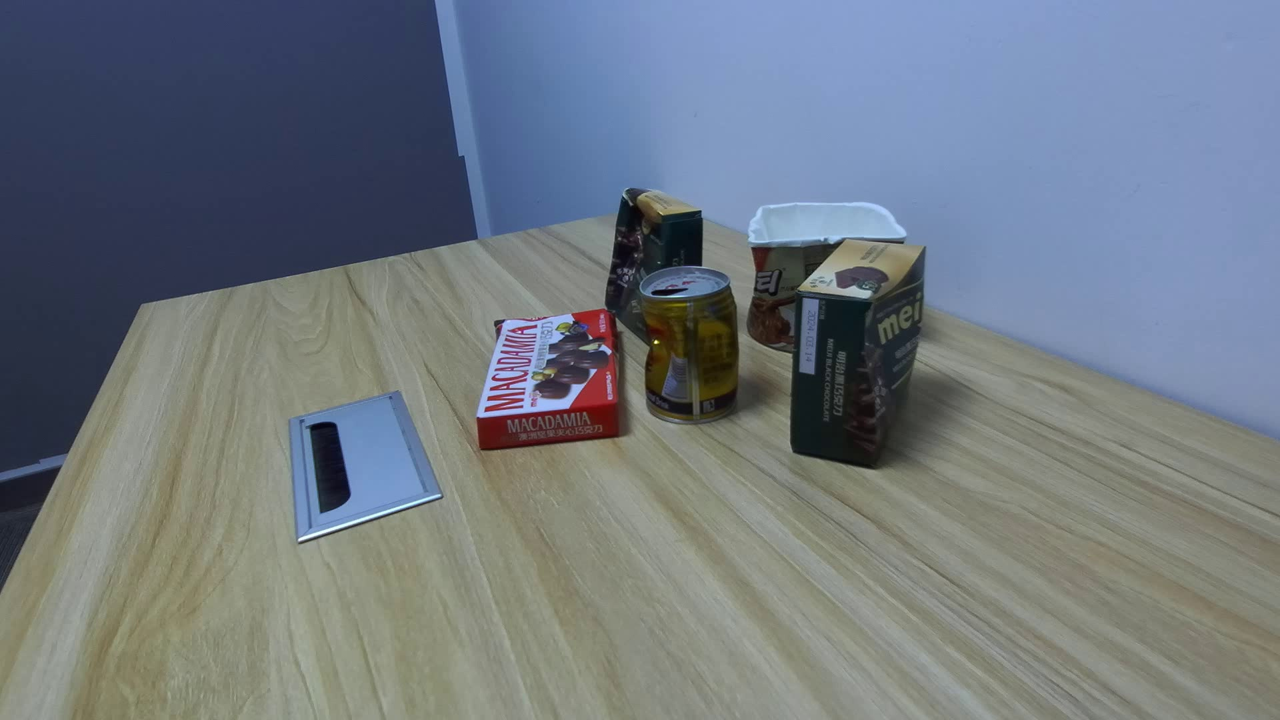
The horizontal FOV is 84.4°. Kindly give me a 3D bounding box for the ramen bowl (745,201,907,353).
[{"bbox_3d":[0.143,-0.074,0.589,0.113,0.098,0.133,-6,26,1],"label":"ramen bowl"}]

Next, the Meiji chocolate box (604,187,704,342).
[{"bbox_3d":[0.014,-0.084,0.615,0.052,0.117,0.117,-5,24,-22],"label":"Meiji chocolate box"}]

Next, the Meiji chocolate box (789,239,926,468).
[{"bbox_3d":[0.138,-0.008,0.439,0.058,0.111,0.113,11,29,27],"label":"Meiji chocolate box"}]

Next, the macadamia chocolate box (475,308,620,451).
[{"bbox_3d":[-0.066,0.006,0.545,0.106,0.028,0.182,-6,25,-3],"label":"macadamia chocolate box"}]

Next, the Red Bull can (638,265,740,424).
[{"bbox_3d":[0.033,-0.011,0.484,0.072,0.092,0.072,-3,27,2],"label":"Red Bull can"}]
